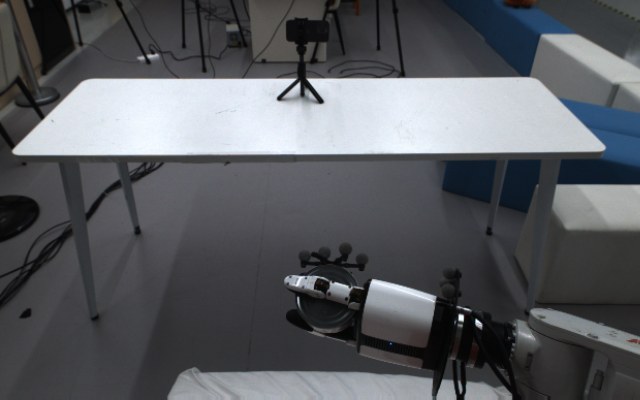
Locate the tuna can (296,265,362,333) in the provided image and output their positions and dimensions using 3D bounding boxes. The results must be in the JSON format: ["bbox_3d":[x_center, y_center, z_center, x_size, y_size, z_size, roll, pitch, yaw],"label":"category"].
[{"bbox_3d":[0.014,0.135,0.637,0.085,0.034,0.085,-4,62,7],"label":"tuna can"}]
